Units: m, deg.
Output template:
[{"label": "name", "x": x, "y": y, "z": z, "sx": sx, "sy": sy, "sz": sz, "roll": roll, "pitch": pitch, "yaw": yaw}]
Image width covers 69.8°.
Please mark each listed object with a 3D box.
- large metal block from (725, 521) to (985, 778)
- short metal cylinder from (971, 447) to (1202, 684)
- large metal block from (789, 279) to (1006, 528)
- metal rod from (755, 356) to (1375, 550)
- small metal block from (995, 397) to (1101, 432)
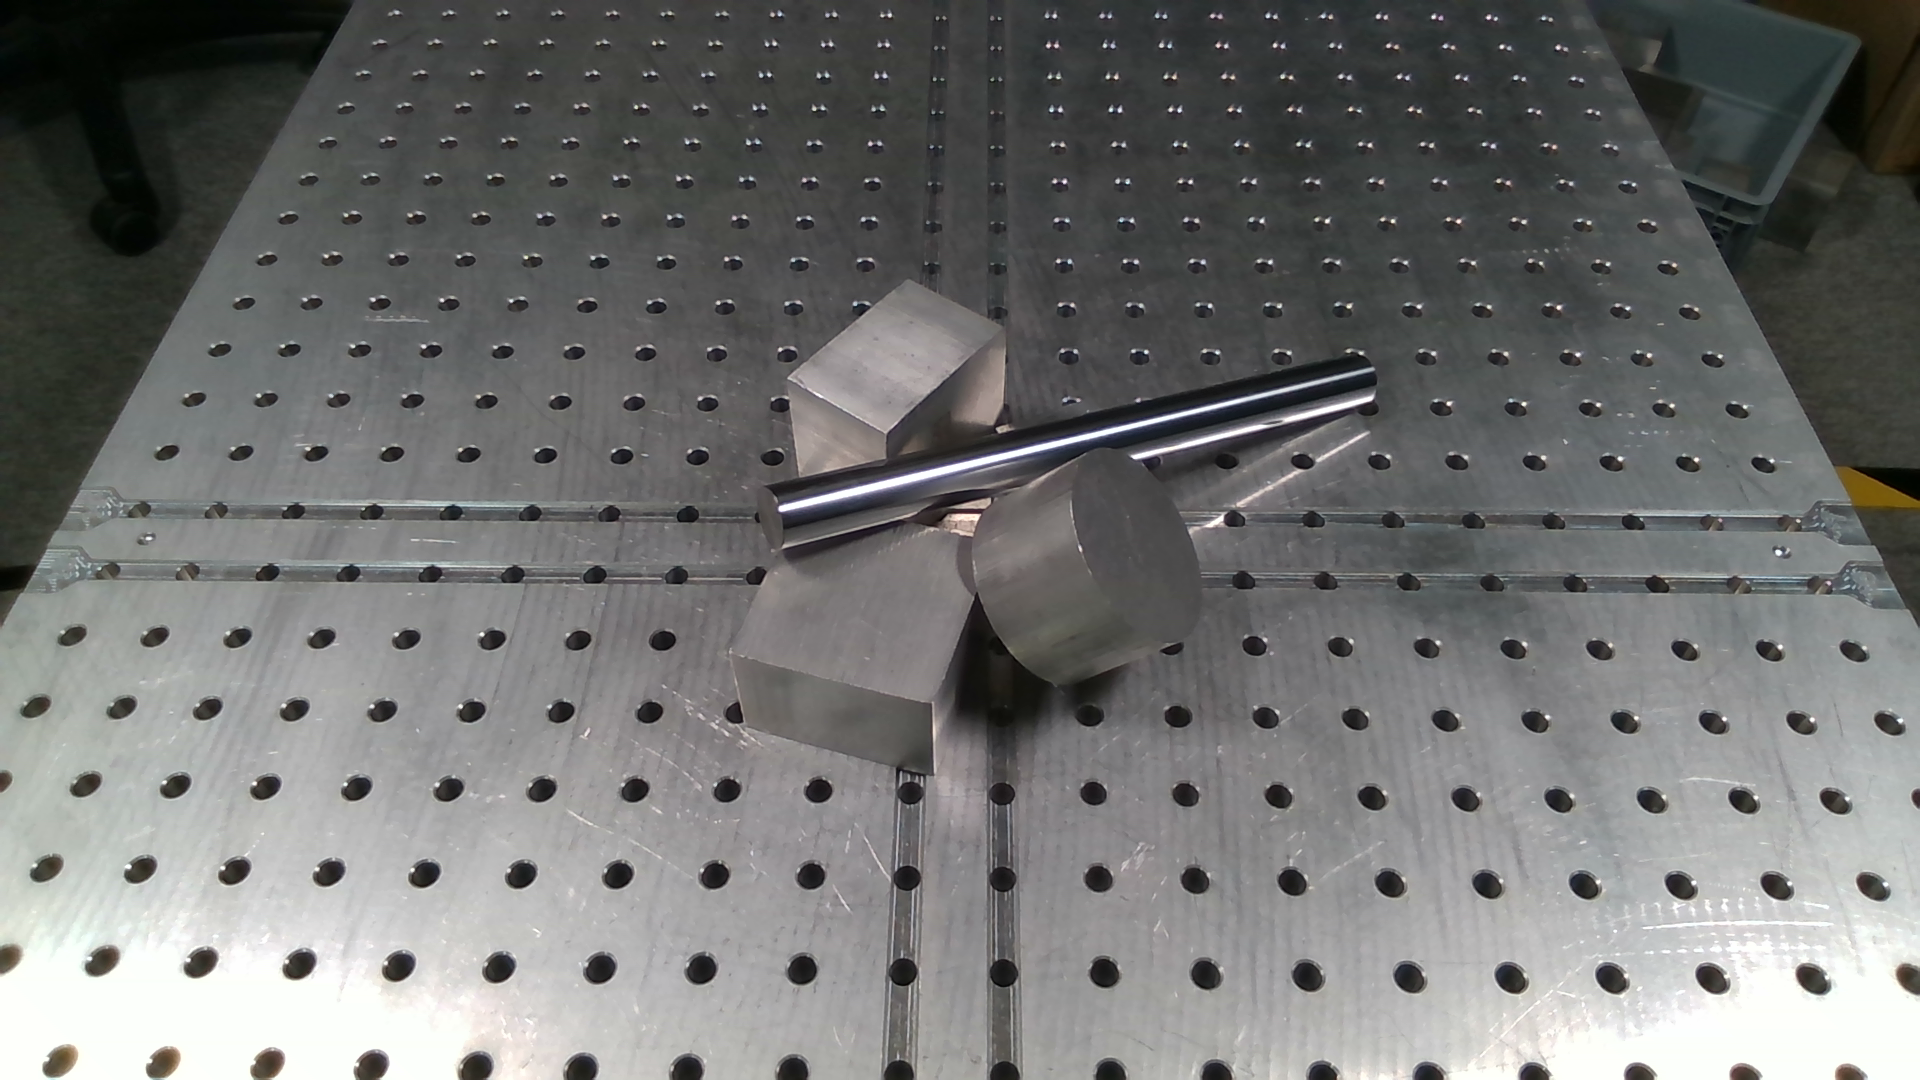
[{"label": "large metal block", "x": -0.036, "y": 0.037, "z": 0.542, "sx": 0.080, "sy": 0.050, "sz": 0.080, "roll": 13, "pitch": 51, "yaw": 11}, {"label": "short metal cylinder", "x": 0.050, "y": 0.011, "z": 0.536, "sx": 0.050, "sy": 0.080, "sz": 0.080, "roll": -27, "pitch": 38, "yaw": 37}, {"label": "large metal block", "x": -0.025, "y": -0.052, "z": 0.597, "sx": 0.050, "sy": 0.080, "sz": 0.080, "roll": 30, "pitch": 56, "yaw": 23}, {"label": "metal rod", "x": 0.058, "y": -0.042, "z": 0.585, "sx": 0.300, "sy": 0.025, "sz": 0.025, "roll": -14, "pitch": 51, "yaw": -27}, {"label": "small metal block", "x": 0.049, "y": -0.032, "z": 0.617, "sx": 0.050, "sy": 0.025, "sz": 0.050, "roll": -19, "pitch": 53, "yaw": -15}]
